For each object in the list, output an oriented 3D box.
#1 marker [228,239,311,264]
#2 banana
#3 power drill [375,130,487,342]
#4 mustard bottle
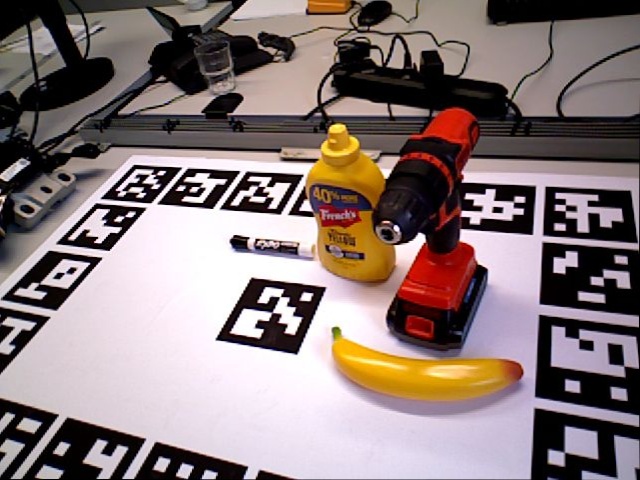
[{"bbox_3d":[-0.070,0.015,0.731,0.122,0.020,0.019,7,46,22],"label":"marker"},{"bbox_3d":[0.087,0.138,0.543,0.198,0.039,0.072,11,48,27],"label":"banana"},{"bbox_3d":[0.109,0.009,0.532,0.057,0.191,0.180,19,47,27],"label":"power drill"},{"bbox_3d":[0.033,-0.032,0.622,0.096,0.195,0.057,16,48,26],"label":"mustard bottle"}]
